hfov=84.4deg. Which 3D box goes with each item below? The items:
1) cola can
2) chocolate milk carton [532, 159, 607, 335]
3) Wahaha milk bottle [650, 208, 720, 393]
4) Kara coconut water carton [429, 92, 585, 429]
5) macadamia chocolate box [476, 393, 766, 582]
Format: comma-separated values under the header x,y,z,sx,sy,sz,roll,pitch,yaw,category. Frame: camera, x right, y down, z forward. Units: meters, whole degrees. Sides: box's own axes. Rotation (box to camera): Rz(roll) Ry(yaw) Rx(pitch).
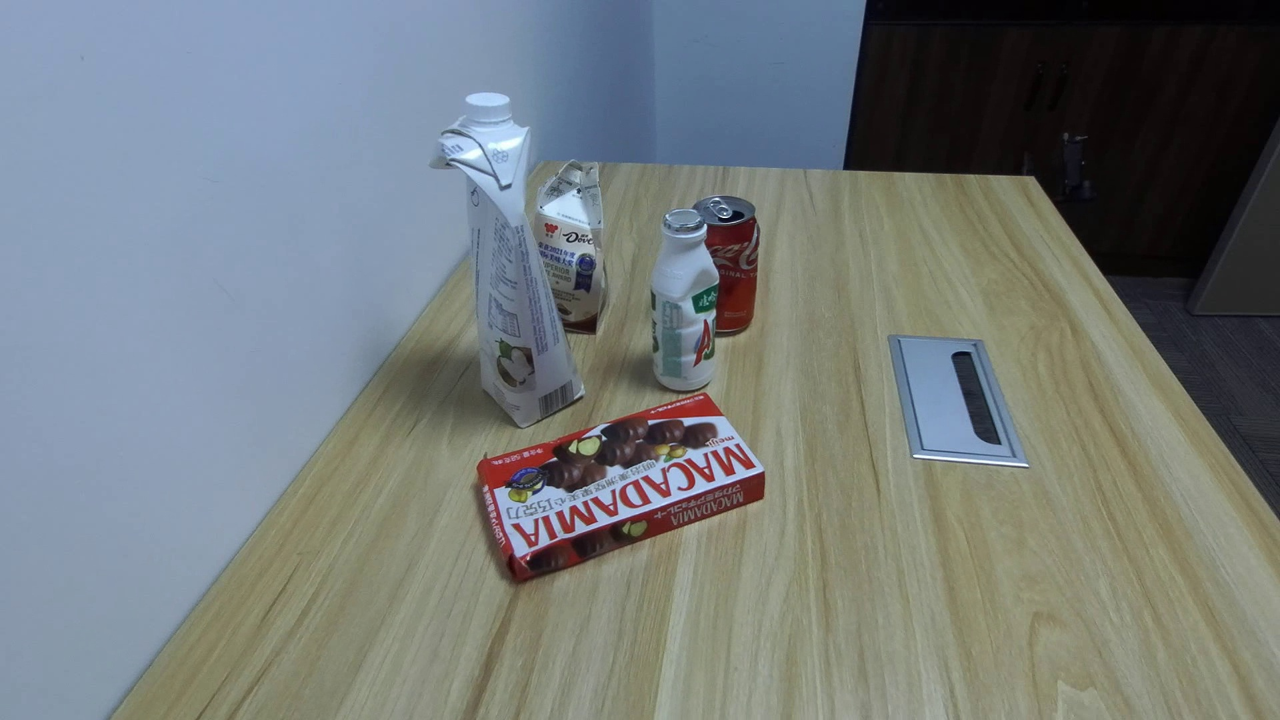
x,y,z,sx,sy,sz,roll,pitch,yaw,category
0.074,-0.087,0.639,0.066,0.117,0.066,2,38,7,cola can
-0.065,-0.108,0.652,0.077,0.155,0.089,5,22,4,chocolate milk carton
0.035,-0.045,0.555,0.056,0.148,0.056,-1,36,1,Wahaha milk bottle
-0.096,-0.068,0.520,0.069,0.239,0.114,-24,39,-24,Kara coconut water carton
-0.015,0.082,0.492,0.183,0.028,0.105,-16,38,-16,macadamia chocolate box
